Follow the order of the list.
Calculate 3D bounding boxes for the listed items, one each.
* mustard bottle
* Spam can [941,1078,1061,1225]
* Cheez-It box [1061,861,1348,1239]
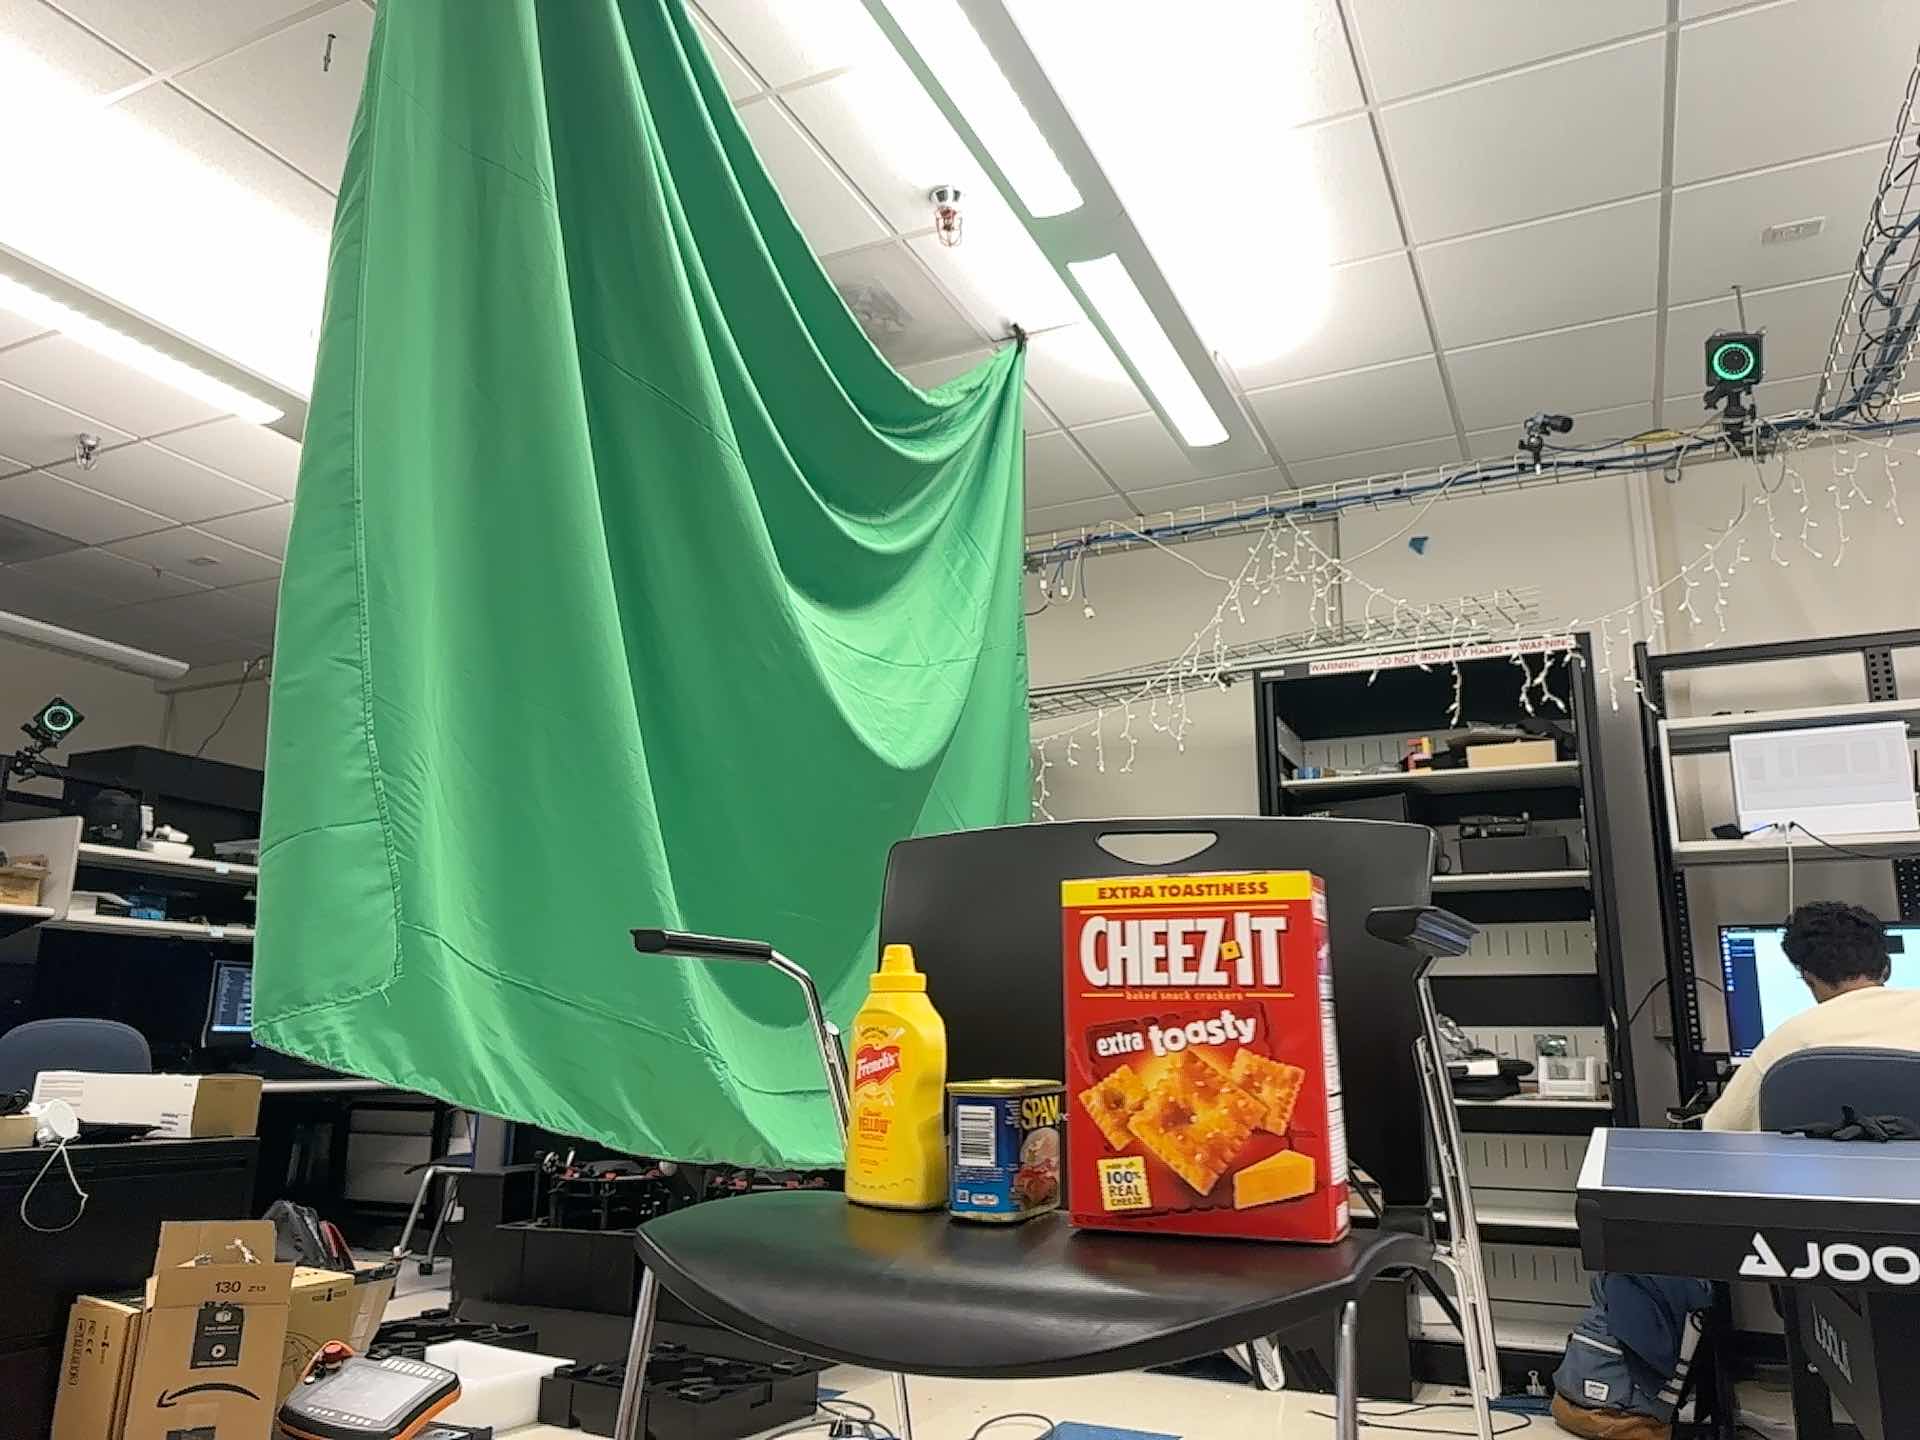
[{"bbox_3d":[-0.049,0.255,0.986,0.092,0.184,0.054,-8,-13,41],"label":"mustard bottle"},{"bbox_3d":[0.029,0.295,0.933,0.056,0.083,0.100,-4,-11,28],"label":"Spam can"},{"bbox_3d":[0.153,0.207,0.866,0.159,0.214,0.062,-6,-14,26],"label":"Cheez-It box"}]
